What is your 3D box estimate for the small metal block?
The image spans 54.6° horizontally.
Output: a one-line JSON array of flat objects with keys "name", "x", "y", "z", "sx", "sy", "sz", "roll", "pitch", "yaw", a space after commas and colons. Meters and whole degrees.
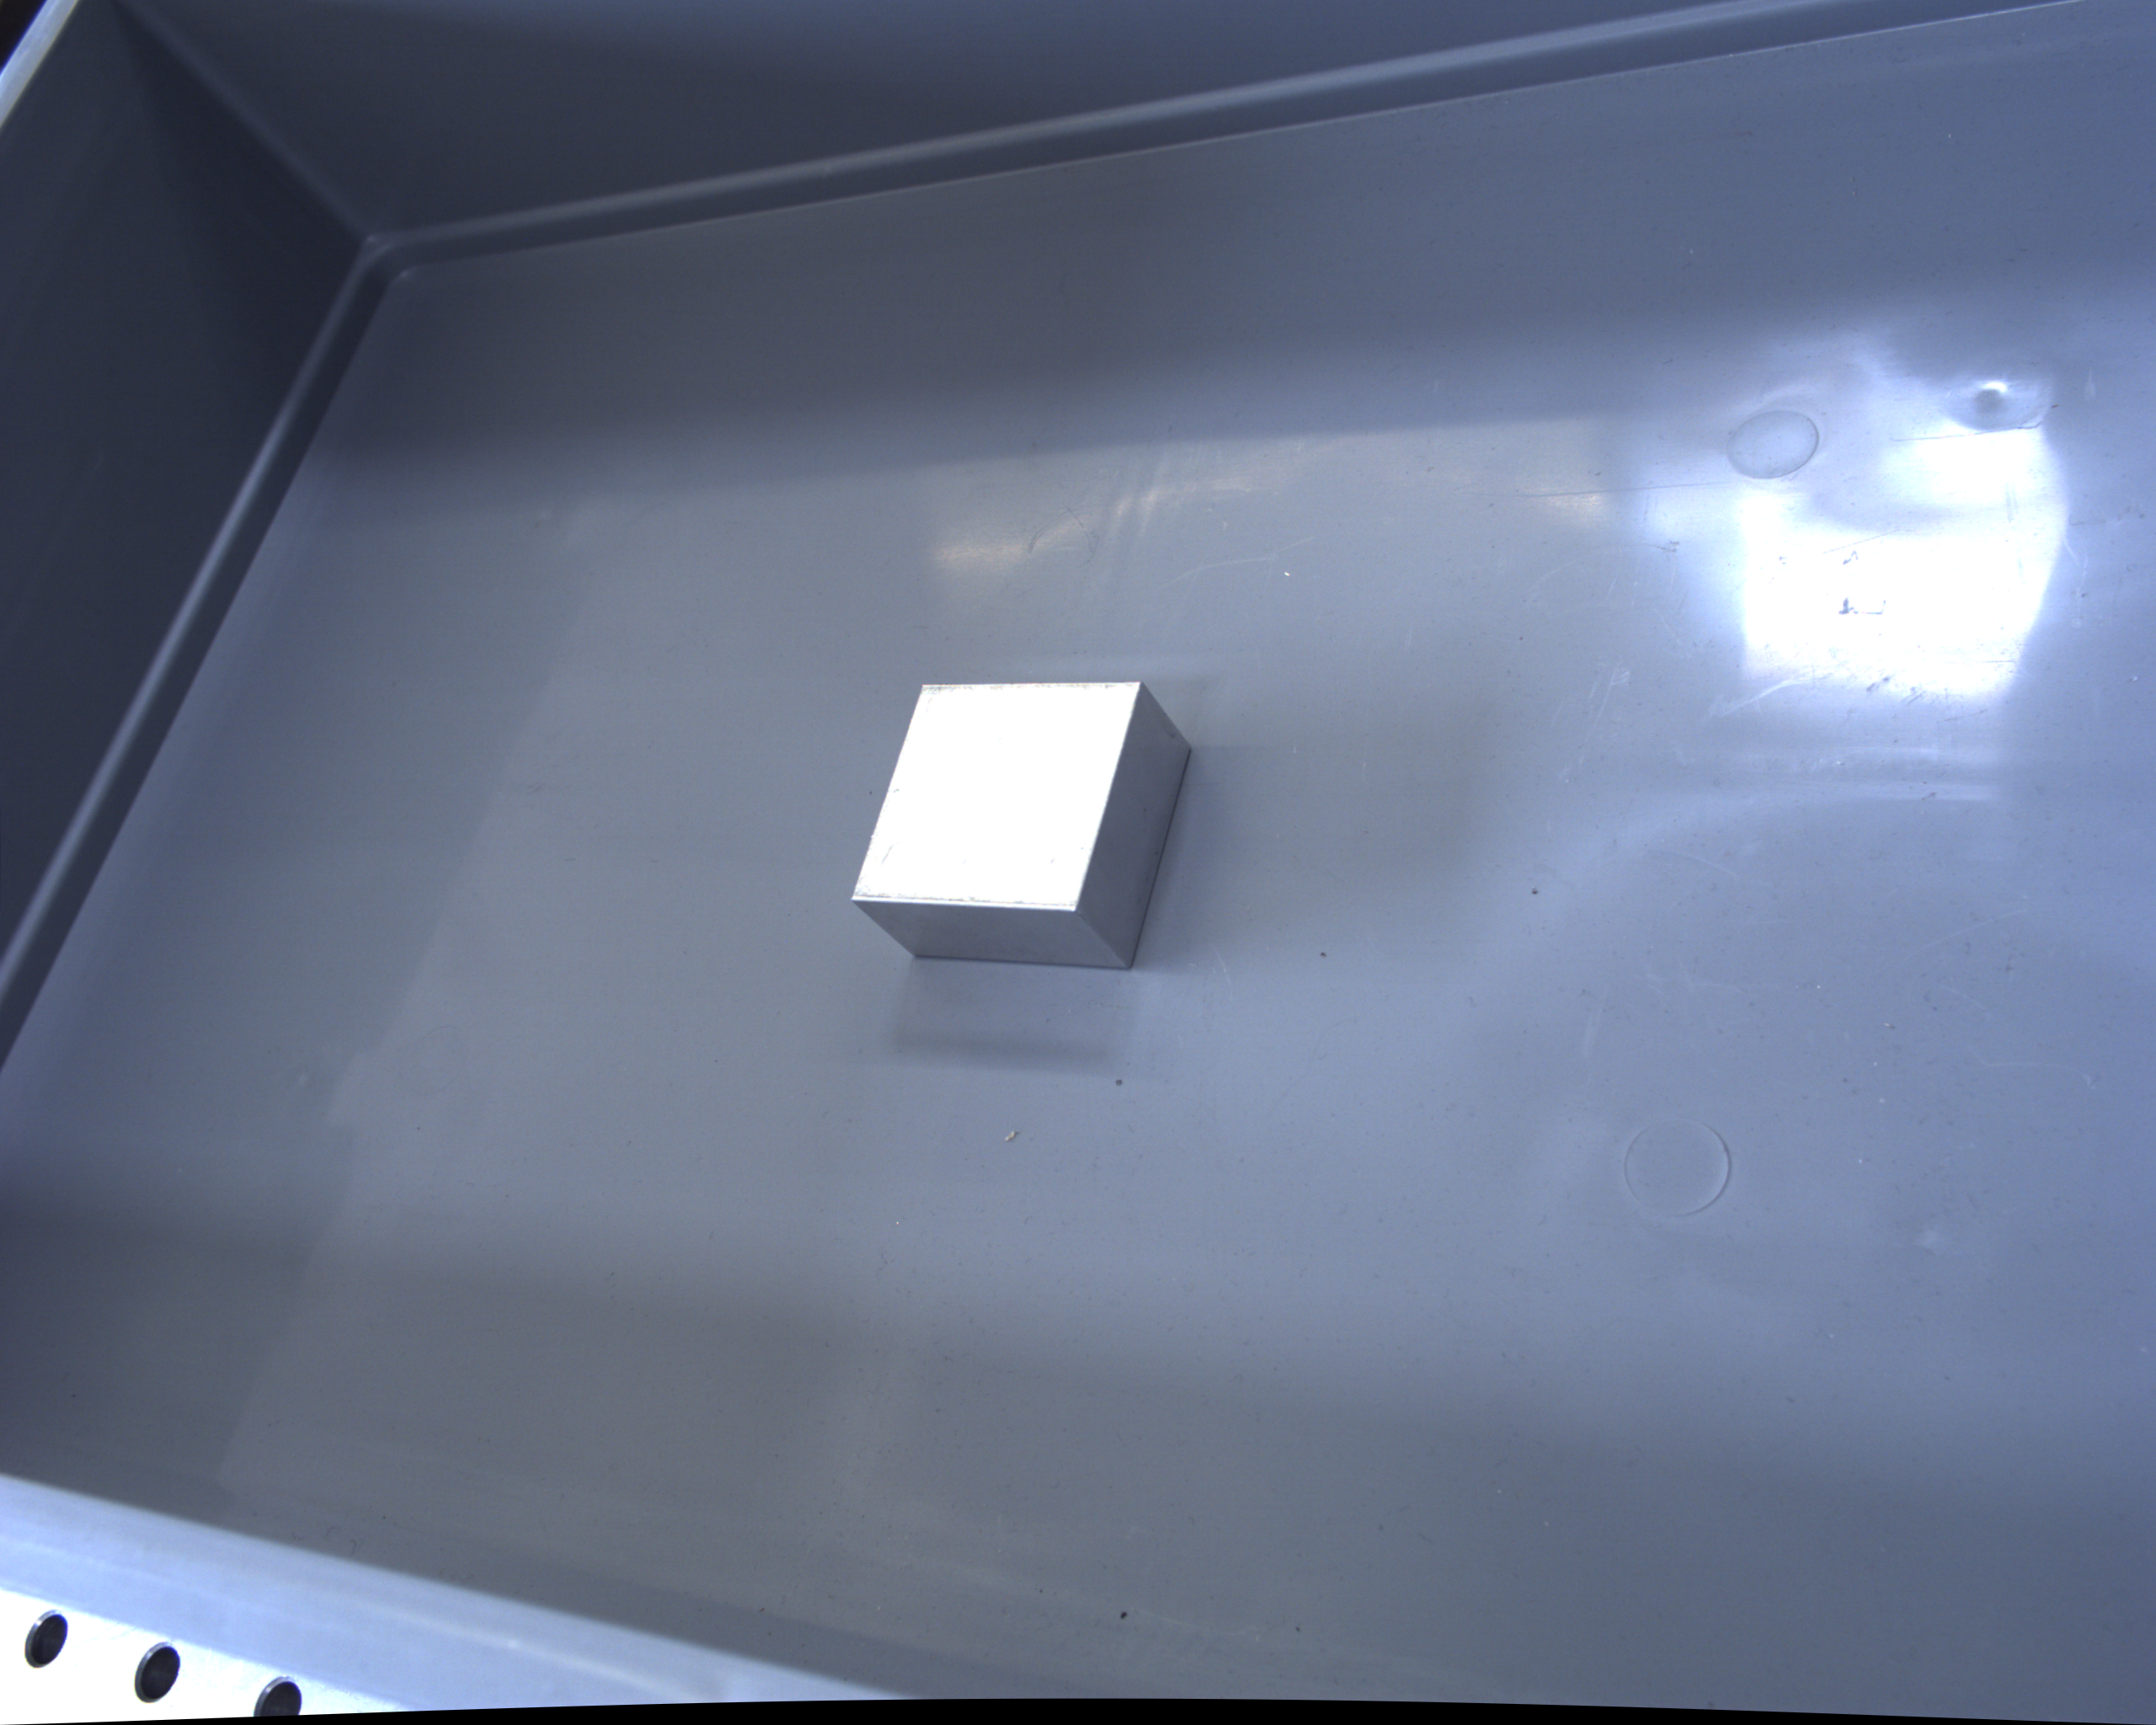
[{"name": "small metal block", "x": -0.011, "y": -0.008, "z": 0.413, "sx": 0.050, "sy": 0.025, "sz": 0.050, "roll": 2, "pitch": 63, "yaw": 29}]
